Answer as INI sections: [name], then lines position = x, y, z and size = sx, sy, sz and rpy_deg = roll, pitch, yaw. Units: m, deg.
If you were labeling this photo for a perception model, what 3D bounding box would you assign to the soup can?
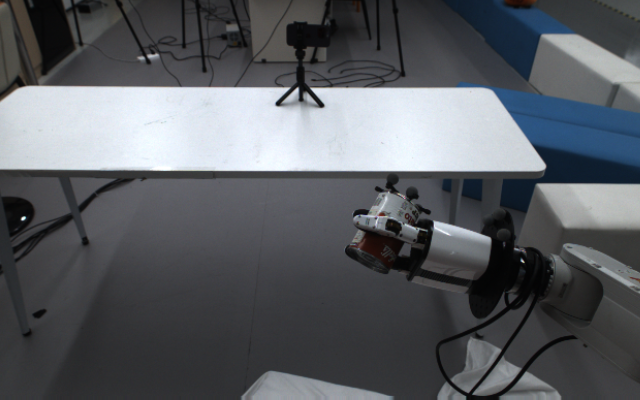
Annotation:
[soup can]
position = 0.093, 0.045, 0.692
size = 0.067, 0.067, 0.101
rpy_deg = 22, 71, 27
